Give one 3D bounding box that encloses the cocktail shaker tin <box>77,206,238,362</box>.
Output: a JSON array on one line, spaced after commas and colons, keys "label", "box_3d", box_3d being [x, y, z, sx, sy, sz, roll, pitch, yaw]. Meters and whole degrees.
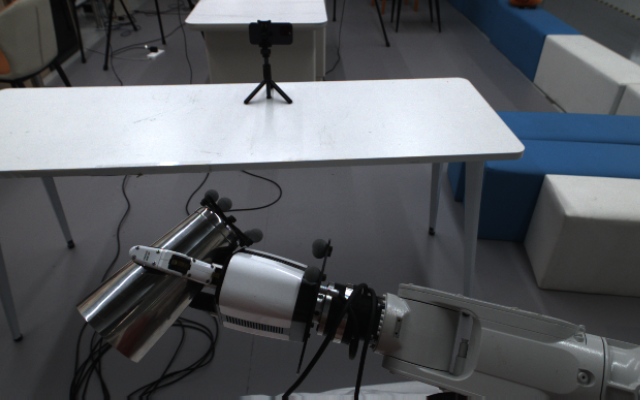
[{"label": "cocktail shaker tin", "box_3d": [-0.175, 0.084, 0.554, 0.093, 0.093, 0.170, 32, 65, 36]}]
